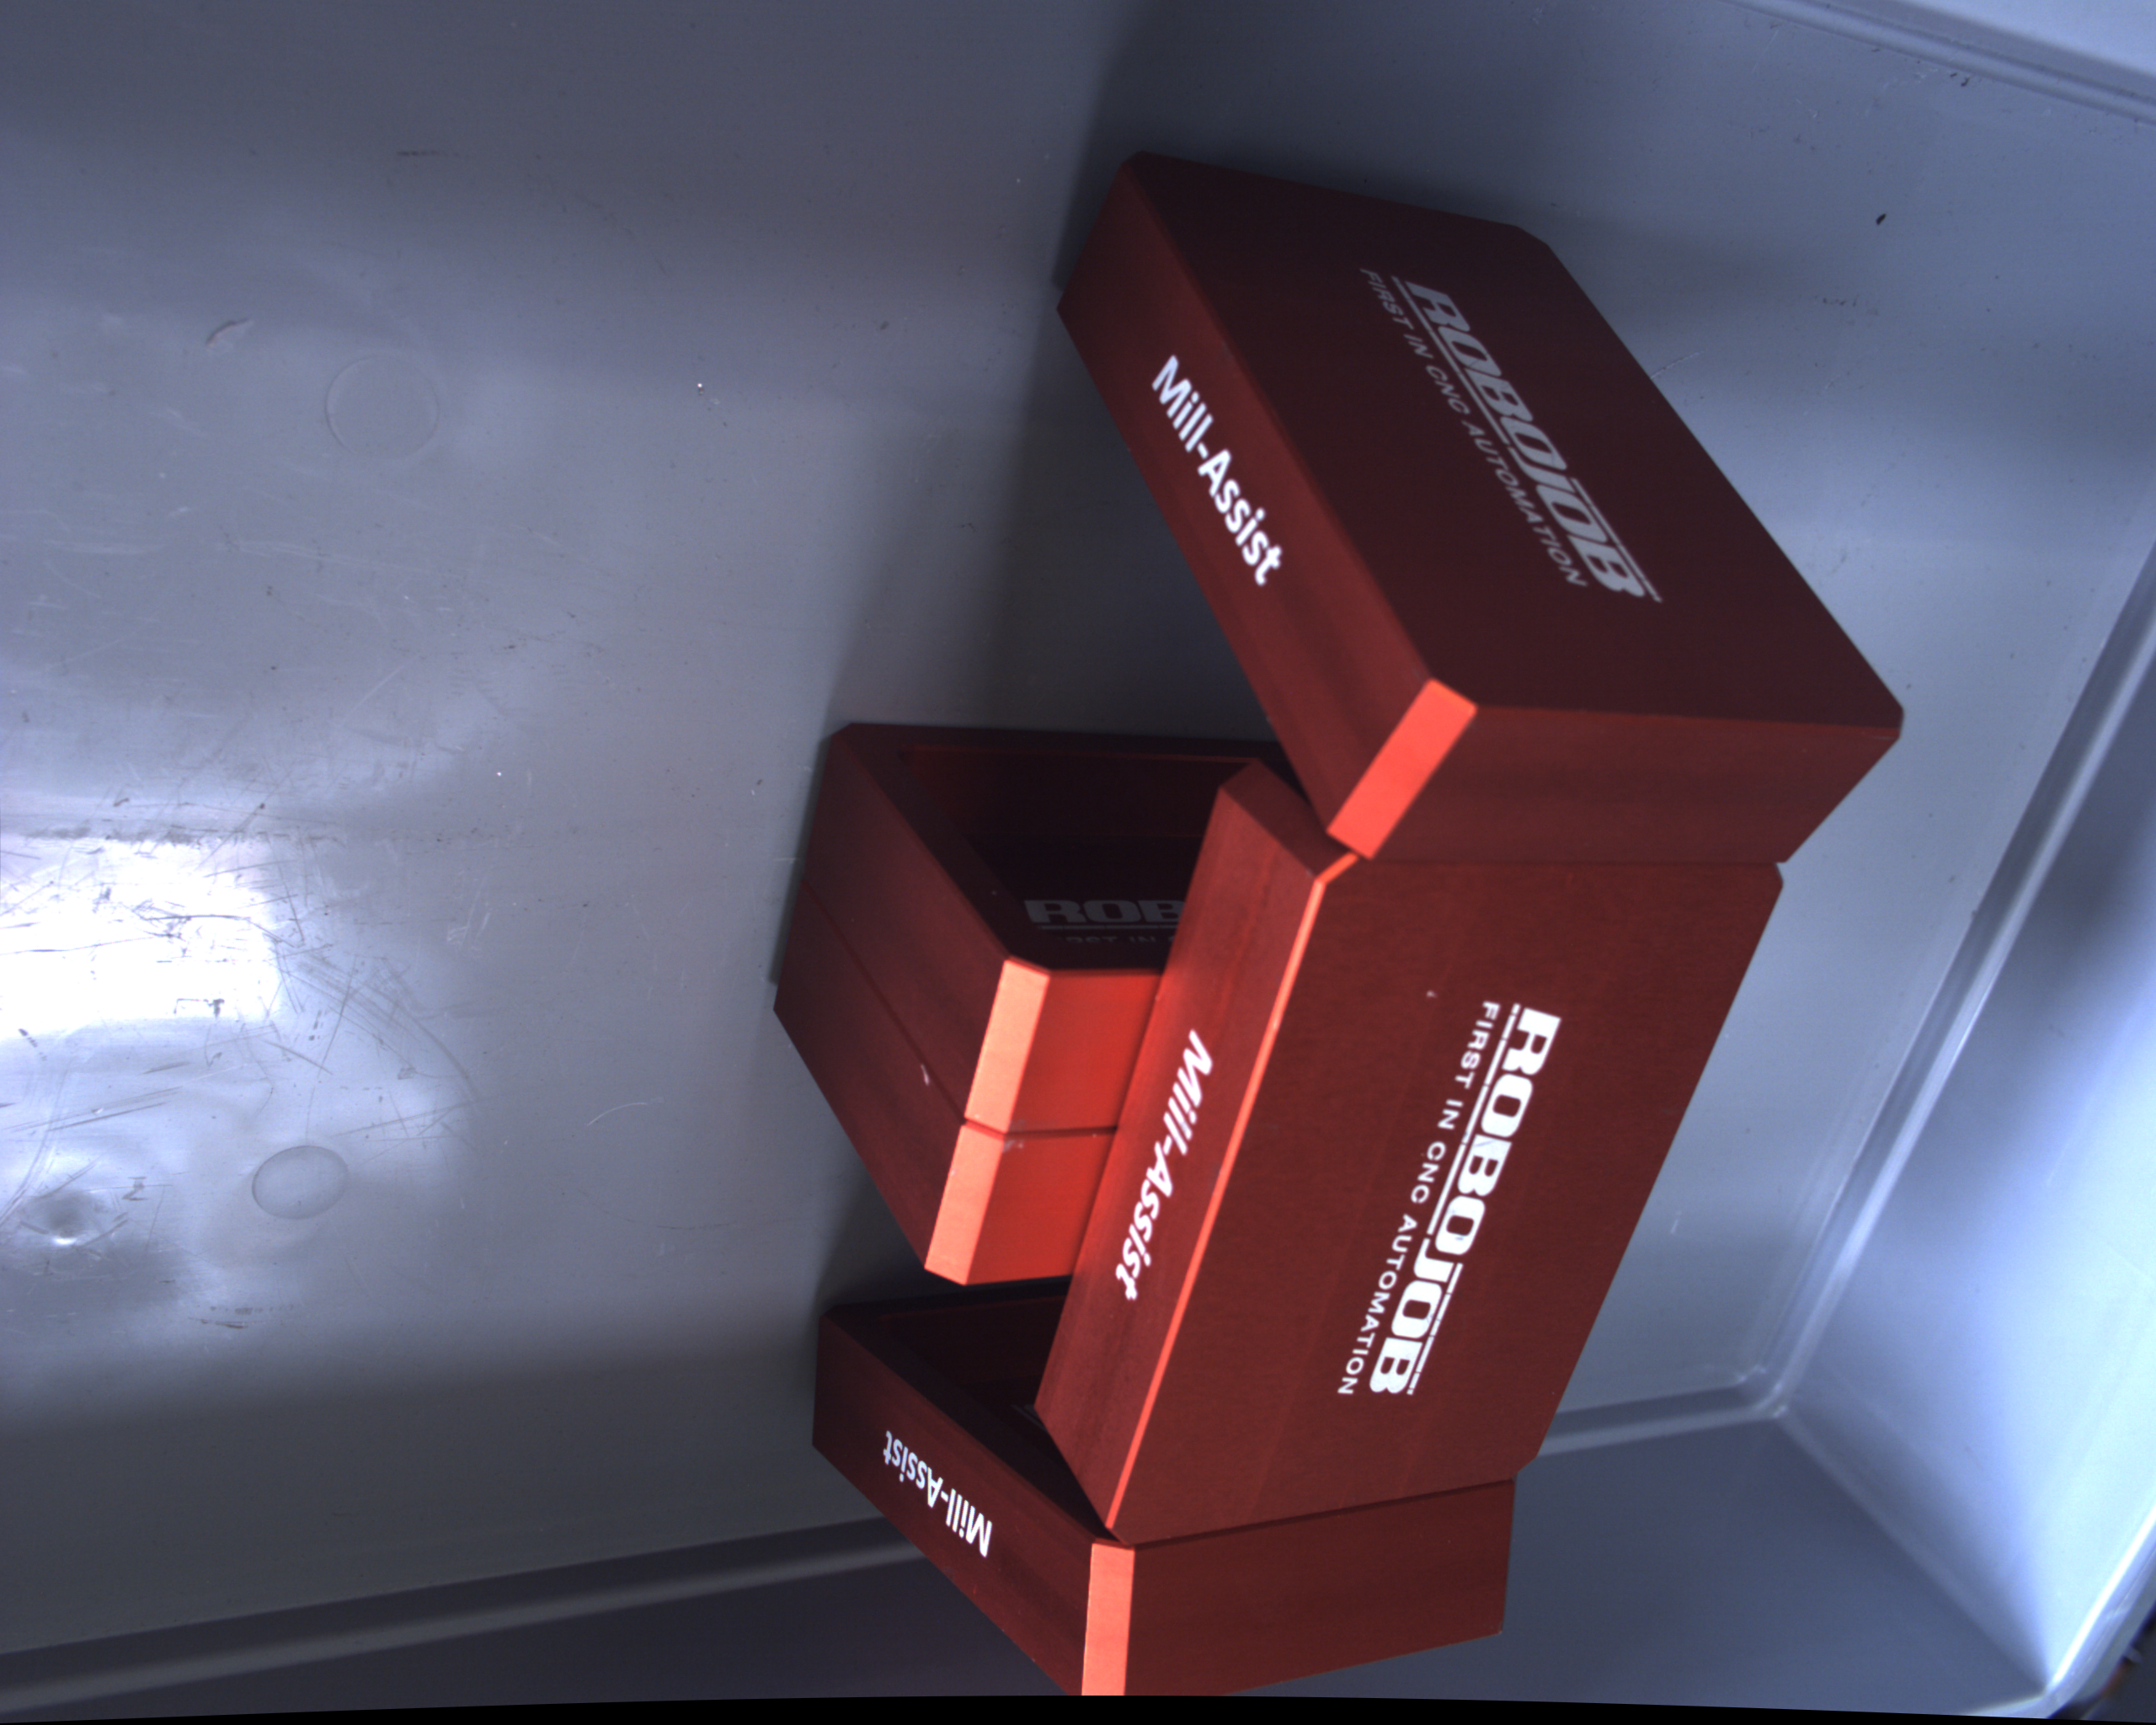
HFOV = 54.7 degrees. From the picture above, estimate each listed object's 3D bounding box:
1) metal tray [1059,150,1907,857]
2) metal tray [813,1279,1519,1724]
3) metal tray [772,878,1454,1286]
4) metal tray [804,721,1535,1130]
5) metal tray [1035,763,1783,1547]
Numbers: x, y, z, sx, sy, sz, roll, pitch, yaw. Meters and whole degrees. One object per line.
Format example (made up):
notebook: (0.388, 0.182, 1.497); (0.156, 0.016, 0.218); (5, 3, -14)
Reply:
metal tray: (0.060, -0.059, 0.334); (0.091, 0.130, 0.030); (0, 138, -29)
metal tray: (0.012, 0.120, 0.418); (0.091, 0.130, 0.030); (0, 97, -29)
metal tray: (0.018, 0.036, 0.398); (0.131, 0.090, 0.030); (1, 118, -29)
metal tray: (0.026, 0.008, 0.385); (0.131, 0.090, 0.030); (1, 118, -29)
metal tray: (0.052, 0.049, 0.345); (0.091, 0.030, 0.129); (0, 118, -30)
